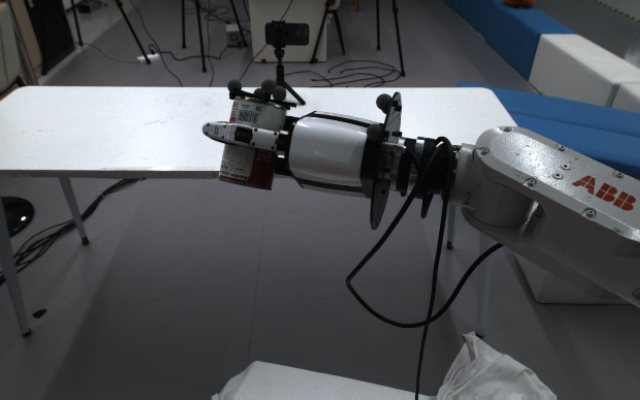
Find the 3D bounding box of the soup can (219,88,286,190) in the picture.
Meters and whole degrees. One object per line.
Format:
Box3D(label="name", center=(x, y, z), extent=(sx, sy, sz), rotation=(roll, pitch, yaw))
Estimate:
Box3D(label="soup can", center=(-0.081, -0.067, 0.592), extent=(0.067, 0.101, 0.067), rotation=(11, 2, 0))
